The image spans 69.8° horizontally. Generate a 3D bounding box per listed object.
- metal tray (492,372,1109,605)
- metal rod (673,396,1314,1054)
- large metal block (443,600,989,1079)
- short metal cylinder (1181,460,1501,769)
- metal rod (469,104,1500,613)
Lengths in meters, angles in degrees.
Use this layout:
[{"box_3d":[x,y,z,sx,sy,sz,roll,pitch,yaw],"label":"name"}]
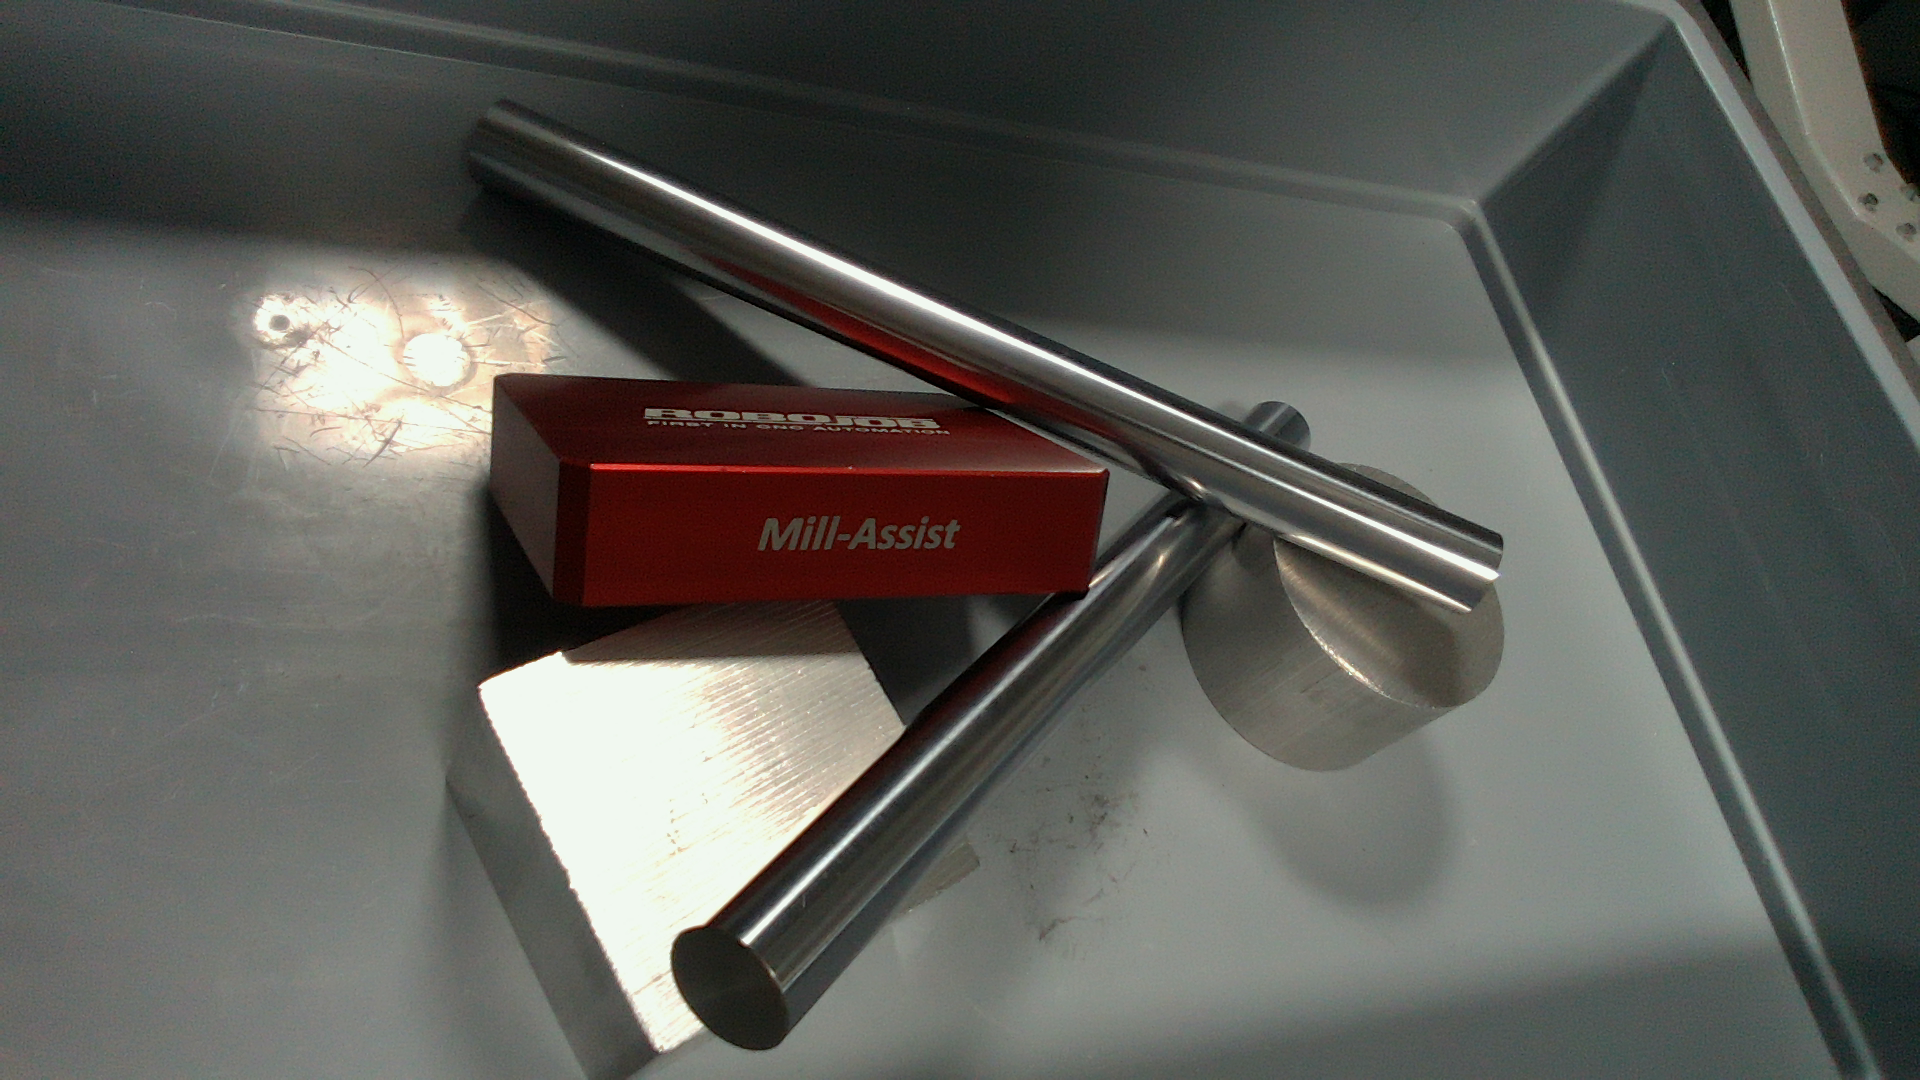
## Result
[{"box_3d":[-0.041,-0.015,0.337,0.130,0.030,0.090,-1,18,-27],"label":"metal tray"},{"box_3d":[0.035,0.019,0.348,0.025,0.025,0.301,47,37,4],"label":"metal rod"},{"box_3d":[-0.054,0.062,0.301,0.080,0.050,0.080,-21,73,-36],"label":"large metal block"},{"box_3d":[0.115,0.023,0.419,0.080,0.050,0.080,14,56,-21],"label":"short metal cylinder"},{"box_3d":[0.005,-0.051,0.385,0.300,0.025,0.025,24,52,2],"label":"metal rod"}]
